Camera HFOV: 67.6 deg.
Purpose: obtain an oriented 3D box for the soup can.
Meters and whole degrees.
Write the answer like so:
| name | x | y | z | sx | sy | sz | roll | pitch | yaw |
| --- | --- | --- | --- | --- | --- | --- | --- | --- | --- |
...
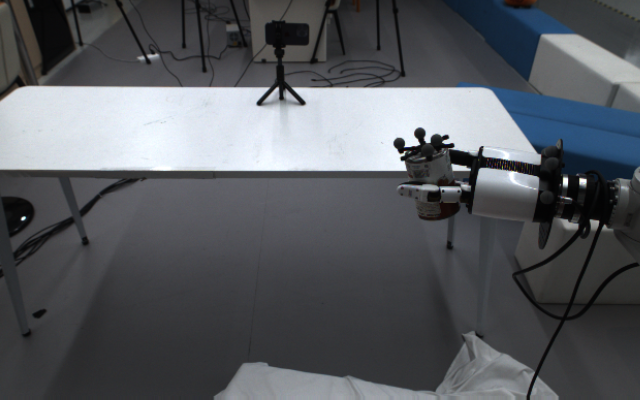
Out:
| name | x | y | z | sx | sy | sz | roll | pitch | yaw |
| --- | --- | --- | --- | --- | --- | --- | --- | --- | --- |
| soup can | 0.172 | -0.029 | 0.739 | 0.067 | 0.101 | 0.067 | -16 | 23 | 7 |
